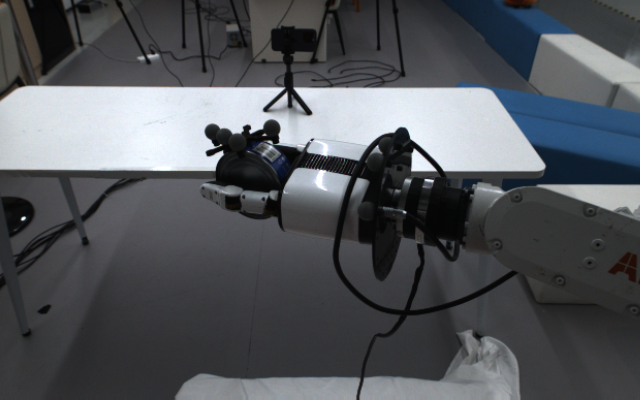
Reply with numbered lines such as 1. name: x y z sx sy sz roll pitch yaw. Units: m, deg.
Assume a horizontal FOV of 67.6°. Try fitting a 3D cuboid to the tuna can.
1. tuna can: -0.069 -0.024 0.542 0.085 0.085 0.034 17 36 20
